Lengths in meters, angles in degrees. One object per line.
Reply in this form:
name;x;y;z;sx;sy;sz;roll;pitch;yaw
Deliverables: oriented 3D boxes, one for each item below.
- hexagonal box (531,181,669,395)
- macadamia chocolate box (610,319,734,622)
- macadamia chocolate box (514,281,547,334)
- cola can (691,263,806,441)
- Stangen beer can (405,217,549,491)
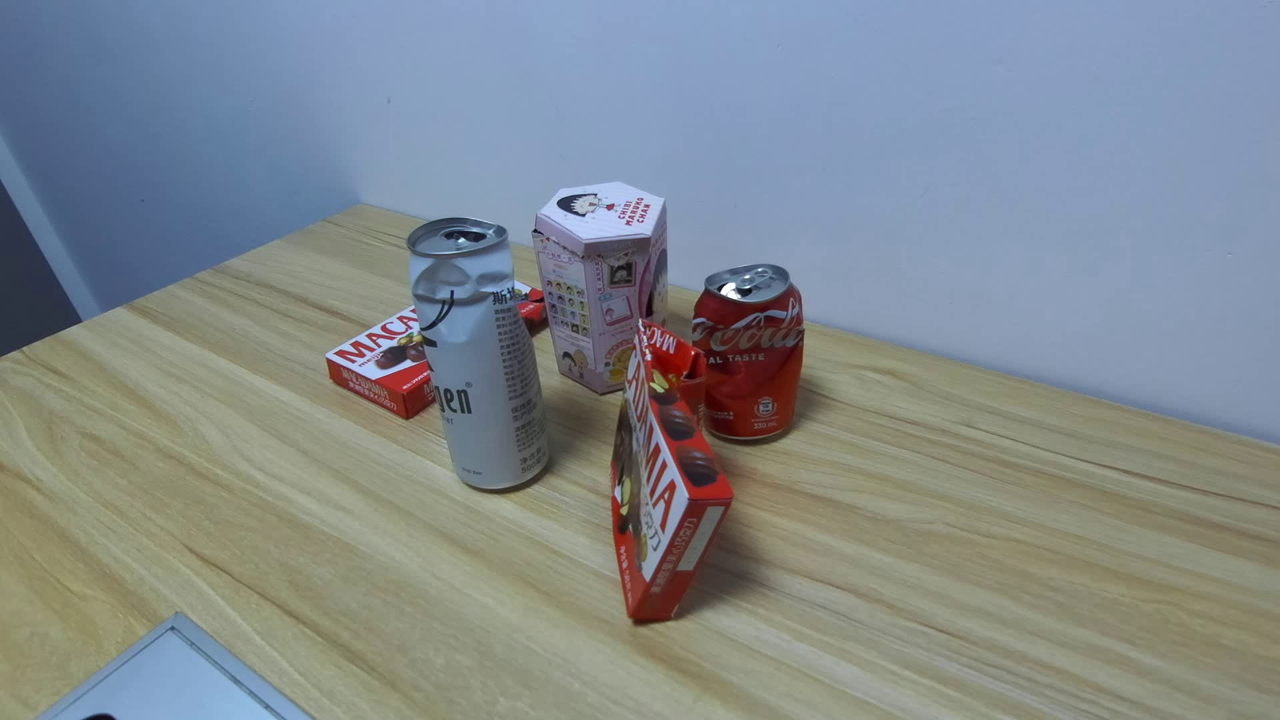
hexagonal box;-0.024;-0.053;0.526;0.085;0.135;0.092;7;36;13
macadamia chocolate box;0.012;0.058;0.384;0.056;0.112;0.126;-4;34;-3
macadamia chocolate box;-0.154;-0.023;0.596;0.102;0.027;0.187;22;41;27
cola can;0.073;-0.005;0.467;0.069;0.112;0.065;4;35;11
Stangen beer can;-0.095;0.001;0.432;0.066;0.166;0.066;0;34;4
